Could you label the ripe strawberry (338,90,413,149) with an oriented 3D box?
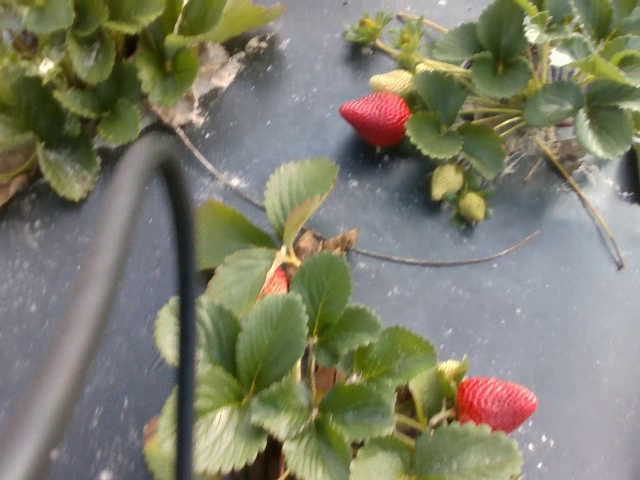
[{"bbox_3d":[0.036,-0.098,0.478,0.055,0.048,0.051,8,18,-30],"label":"ripe strawberry"}]
